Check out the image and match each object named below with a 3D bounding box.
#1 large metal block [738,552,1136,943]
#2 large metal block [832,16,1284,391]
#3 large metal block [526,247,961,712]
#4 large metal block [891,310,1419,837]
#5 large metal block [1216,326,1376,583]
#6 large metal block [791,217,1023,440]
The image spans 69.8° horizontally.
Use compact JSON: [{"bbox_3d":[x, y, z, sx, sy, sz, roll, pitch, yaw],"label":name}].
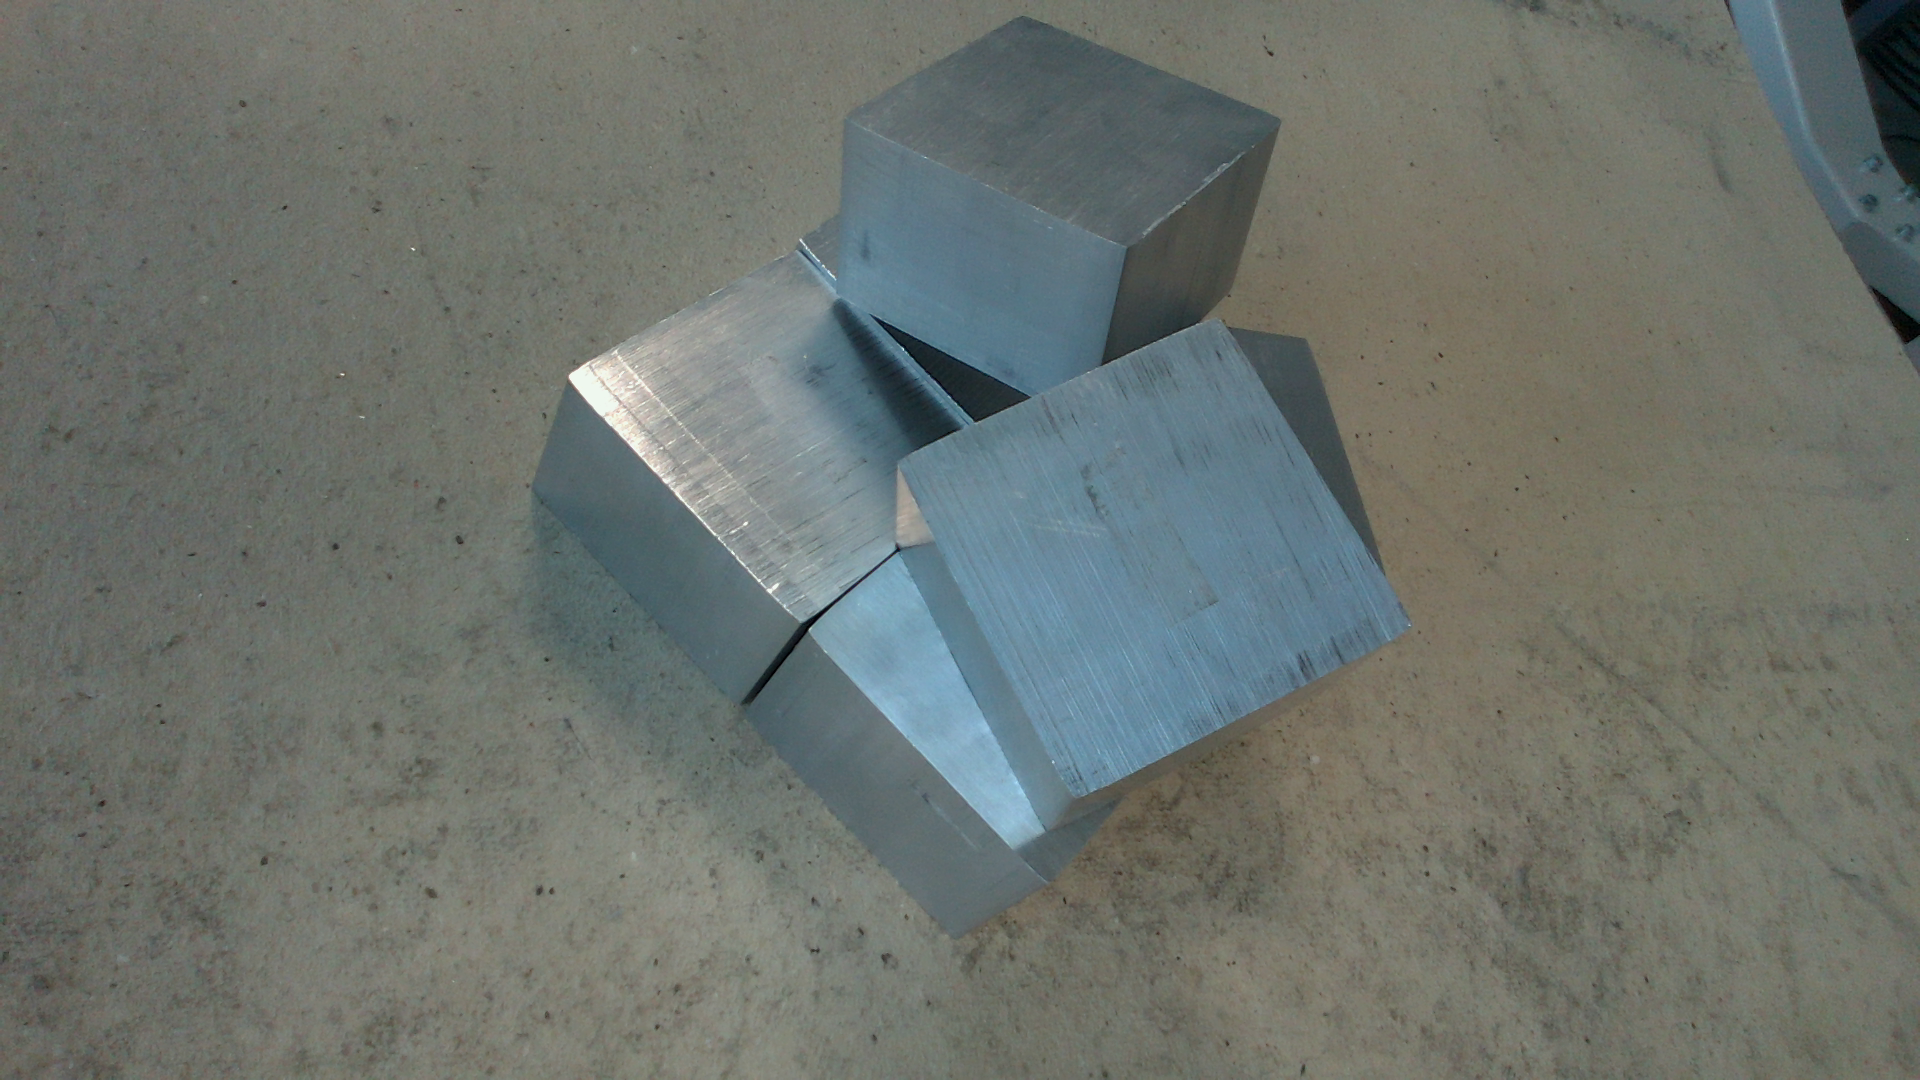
[{"bbox_3d":[0.005,0.040,0.354,0.080,0.050,0.080,46,51,4],"label":"large metal block"},{"bbox_3d":[0.024,-0.086,0.355,0.080,0.050,0.080,29,47,20],"label":"large metal block"},{"bbox_3d":[-0.050,-0.017,0.358,0.080,0.050,0.080,46,51,4],"label":"large metal block"},{"bbox_3d":[0.038,0.008,0.306,0.080,0.050,0.080,-25,74,-11],"label":"large metal block"},{"bbox_3d":[0.066,-0.005,0.394,0.050,0.080,0.080,3,60,-26],"label":"large metal block"},{"bbox_3d":[-0.003,-0.060,0.407,0.080,0.050,0.080,46,50,4],"label":"large metal block"}]
